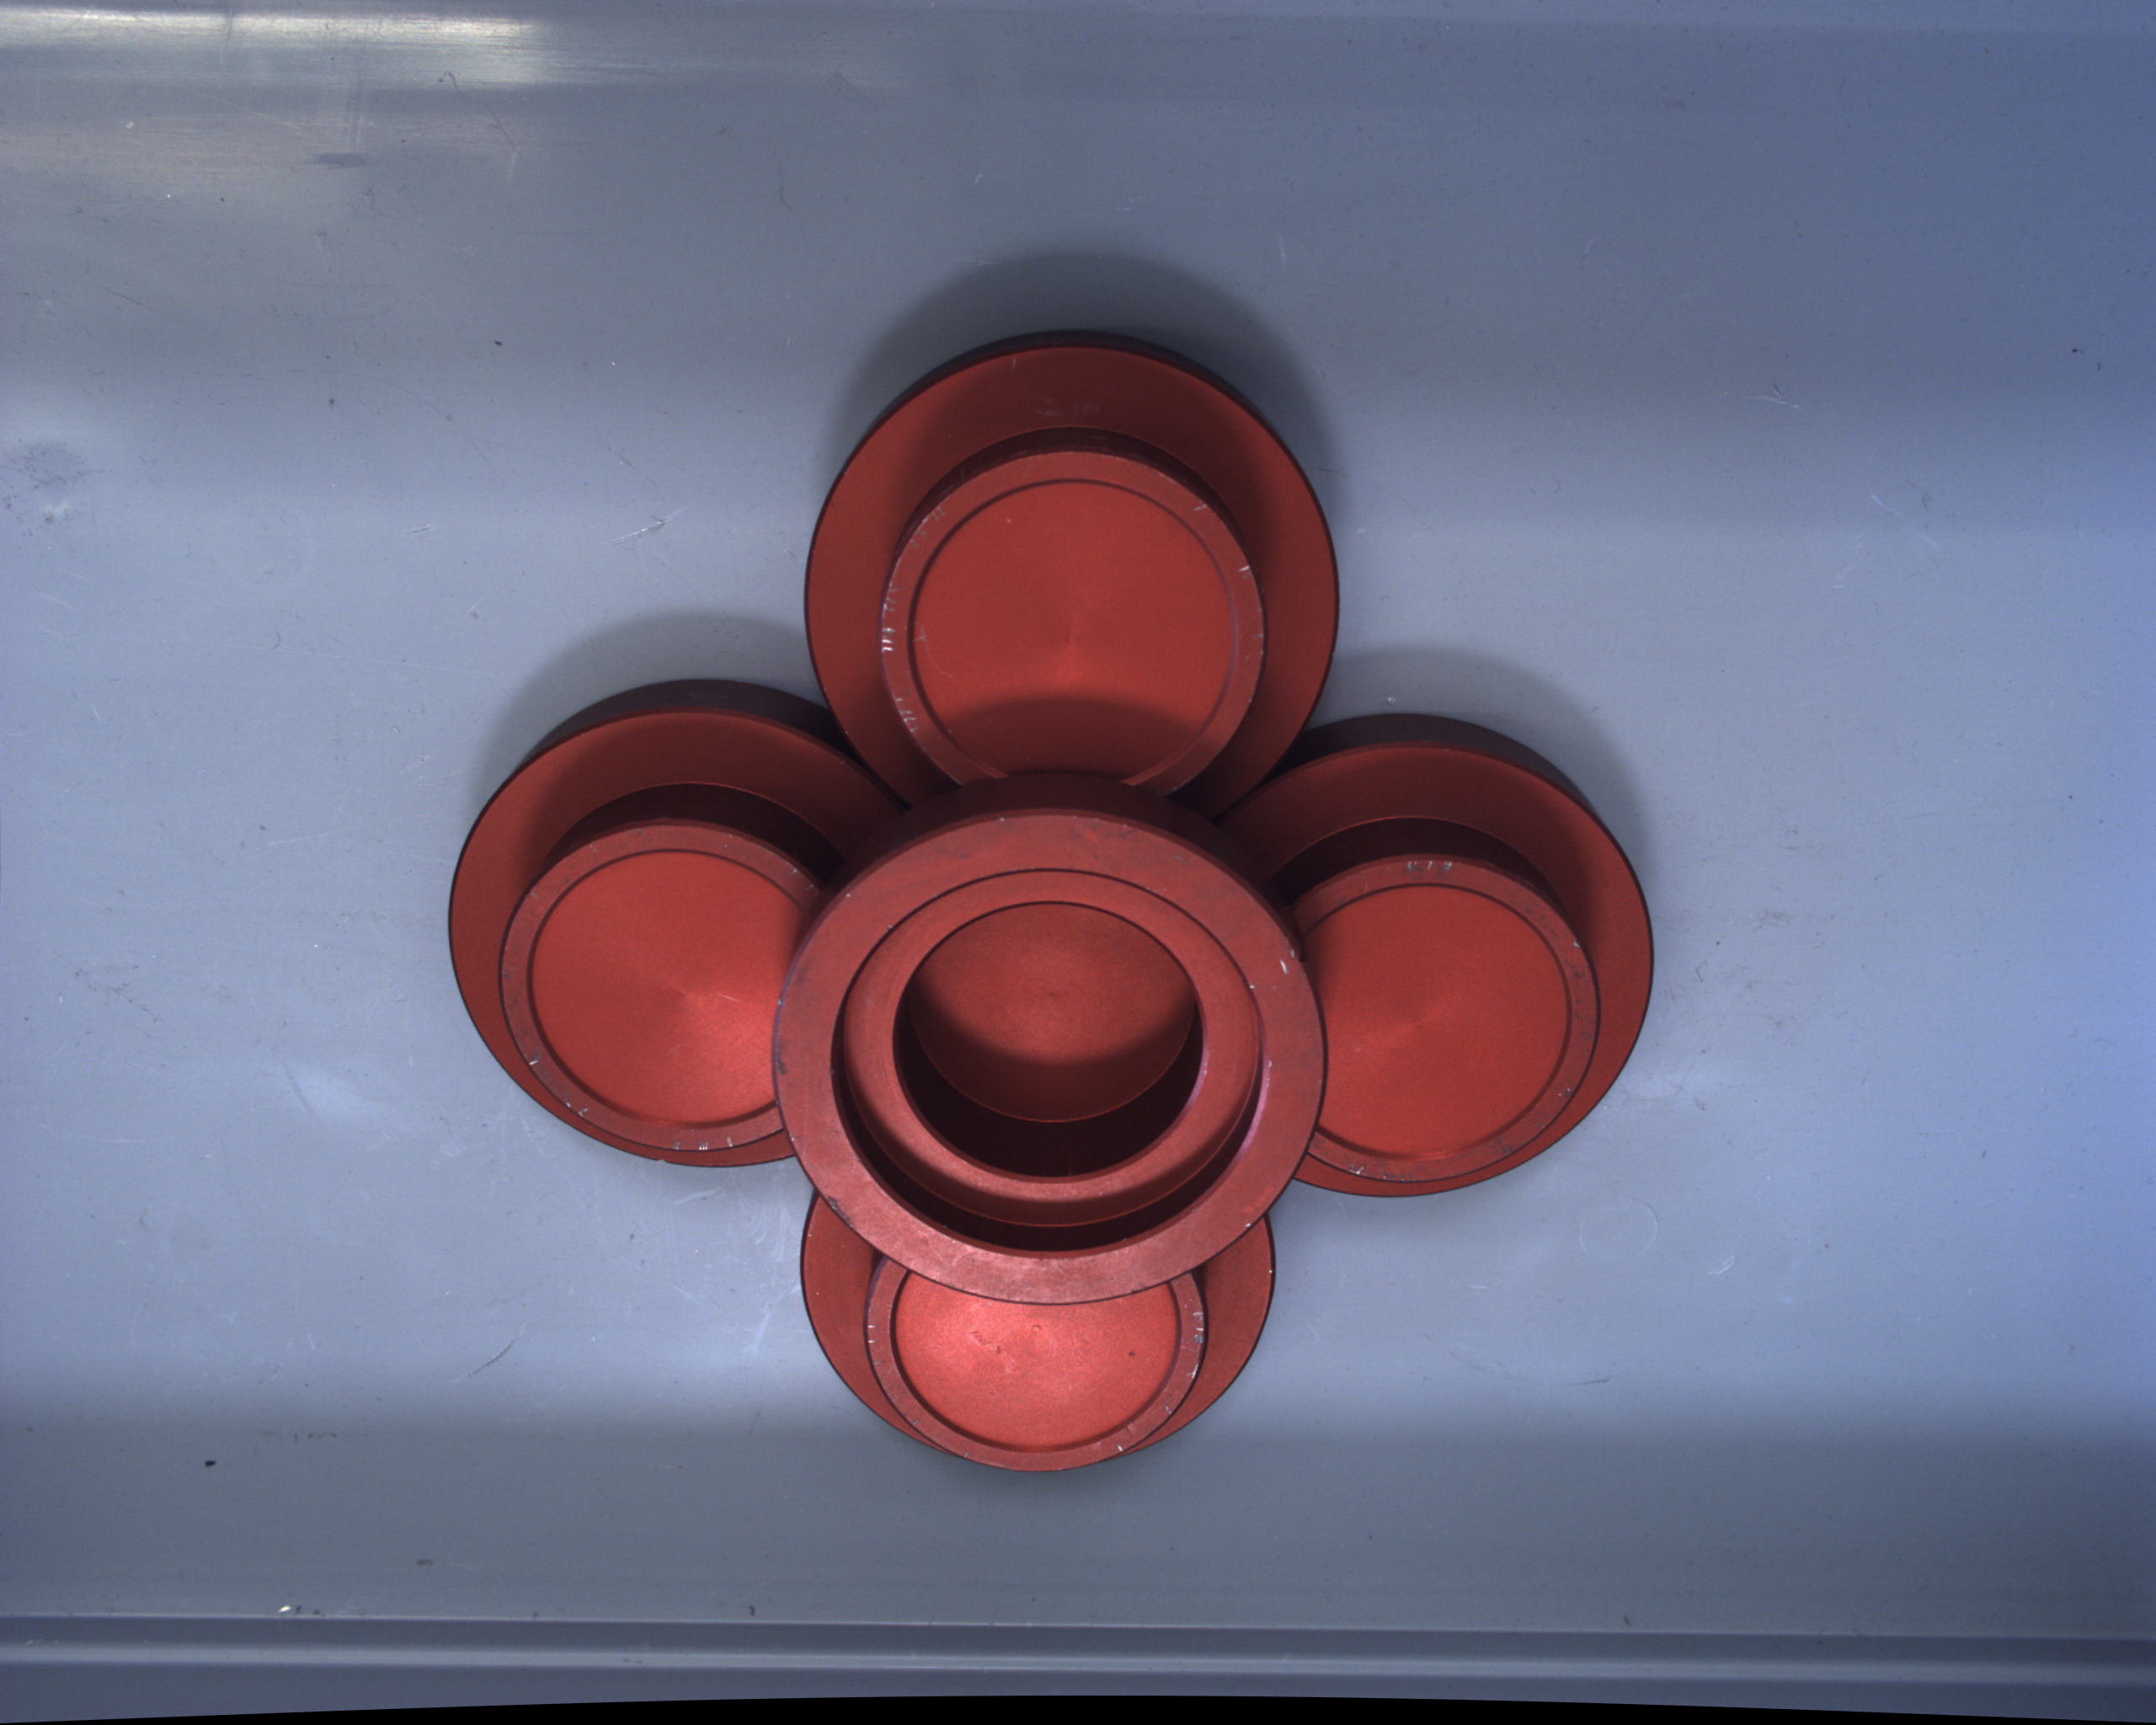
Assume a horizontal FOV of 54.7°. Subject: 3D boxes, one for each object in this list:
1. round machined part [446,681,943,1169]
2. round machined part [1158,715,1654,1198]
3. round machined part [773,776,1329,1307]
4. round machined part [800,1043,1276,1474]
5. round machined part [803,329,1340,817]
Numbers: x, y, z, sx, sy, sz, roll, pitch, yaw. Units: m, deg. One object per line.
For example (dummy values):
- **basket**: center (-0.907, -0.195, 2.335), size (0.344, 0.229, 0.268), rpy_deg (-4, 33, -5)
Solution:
- **round machined part**: center (-0.073, 0.017, 0.405), size (0.099, 0.042, 0.097), rpy_deg (0, 110, 0)
- **round machined part**: center (0.064, 0.023, 0.409), size (0.099, 0.042, 0.097), rpy_deg (0, 110, 0)
- **round machined part**: center (-0.005, 0.030, 0.389), size (0.099, 0.042, 0.097), rpy_deg (0, 110, 0)
- **round machined part**: center (-0.008, 0.086, 0.431), size (0.099, 0.042, 0.097), rpy_deg (-1, 109, -1)
- **round machined part**: center (-0.001, -0.046, 0.382), size (0.099, 0.042, 0.097), rpy_deg (0, 110, 0)
